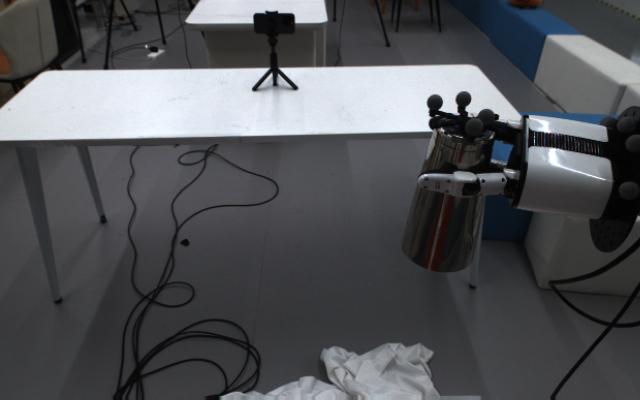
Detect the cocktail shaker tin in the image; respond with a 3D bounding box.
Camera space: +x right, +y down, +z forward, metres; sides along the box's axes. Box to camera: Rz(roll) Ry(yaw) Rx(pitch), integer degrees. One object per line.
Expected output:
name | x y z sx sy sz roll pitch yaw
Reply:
cocktail shaker tin | 0.158 -0.012 0.583 0.093 0.170 0.093 3 33 -2
